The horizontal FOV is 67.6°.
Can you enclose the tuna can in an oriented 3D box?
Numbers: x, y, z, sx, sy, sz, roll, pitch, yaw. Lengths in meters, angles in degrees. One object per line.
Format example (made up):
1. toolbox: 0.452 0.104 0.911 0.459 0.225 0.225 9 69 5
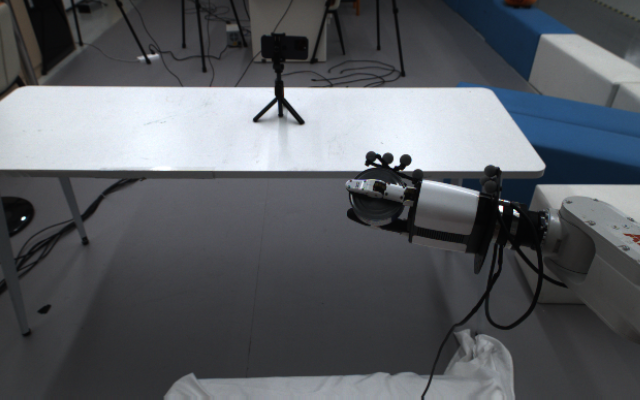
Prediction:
1. tuna can: 0.089 -0.007 0.740 0.085 0.034 0.085 -4 66 10
